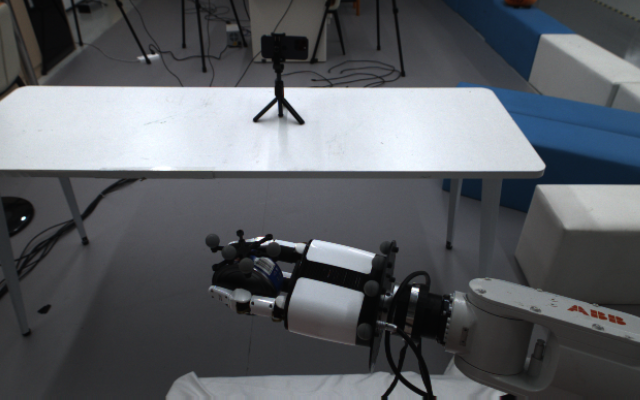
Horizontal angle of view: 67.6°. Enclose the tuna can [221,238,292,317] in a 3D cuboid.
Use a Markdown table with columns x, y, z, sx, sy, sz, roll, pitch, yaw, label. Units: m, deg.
| x | y | z | sx | sy | sz | roll | pitch | yaw | label |
| --- | --- | --- | --- | --- | --- | --- | --- | --- | --- |
| -0.088 | 0.103 | 0.611 | 0.085 | 0.085 | 0.034 | 11 | 34 | 12 | tuna can |
